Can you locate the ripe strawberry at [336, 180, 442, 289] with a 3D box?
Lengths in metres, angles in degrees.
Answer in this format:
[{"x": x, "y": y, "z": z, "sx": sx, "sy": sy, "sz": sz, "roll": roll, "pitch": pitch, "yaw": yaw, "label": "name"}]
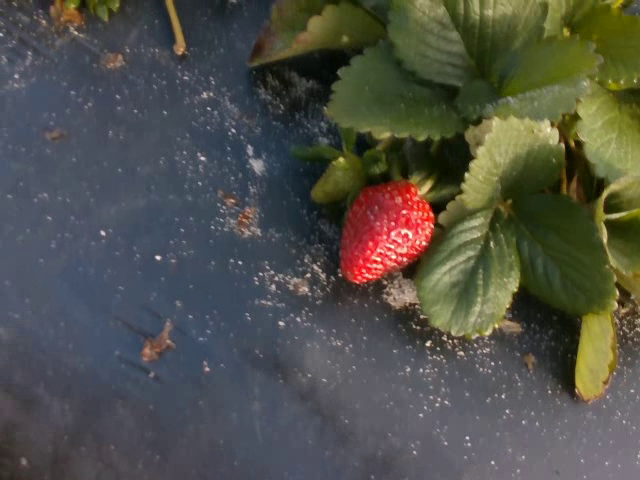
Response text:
[{"x": 0.015, "y": -0.001, "z": 0.186, "sx": 0.029, "sy": 0.036, "sz": 0.021, "roll": 31, "pitch": -26, "yaw": 14, "label": "ripe strawberry"}]
